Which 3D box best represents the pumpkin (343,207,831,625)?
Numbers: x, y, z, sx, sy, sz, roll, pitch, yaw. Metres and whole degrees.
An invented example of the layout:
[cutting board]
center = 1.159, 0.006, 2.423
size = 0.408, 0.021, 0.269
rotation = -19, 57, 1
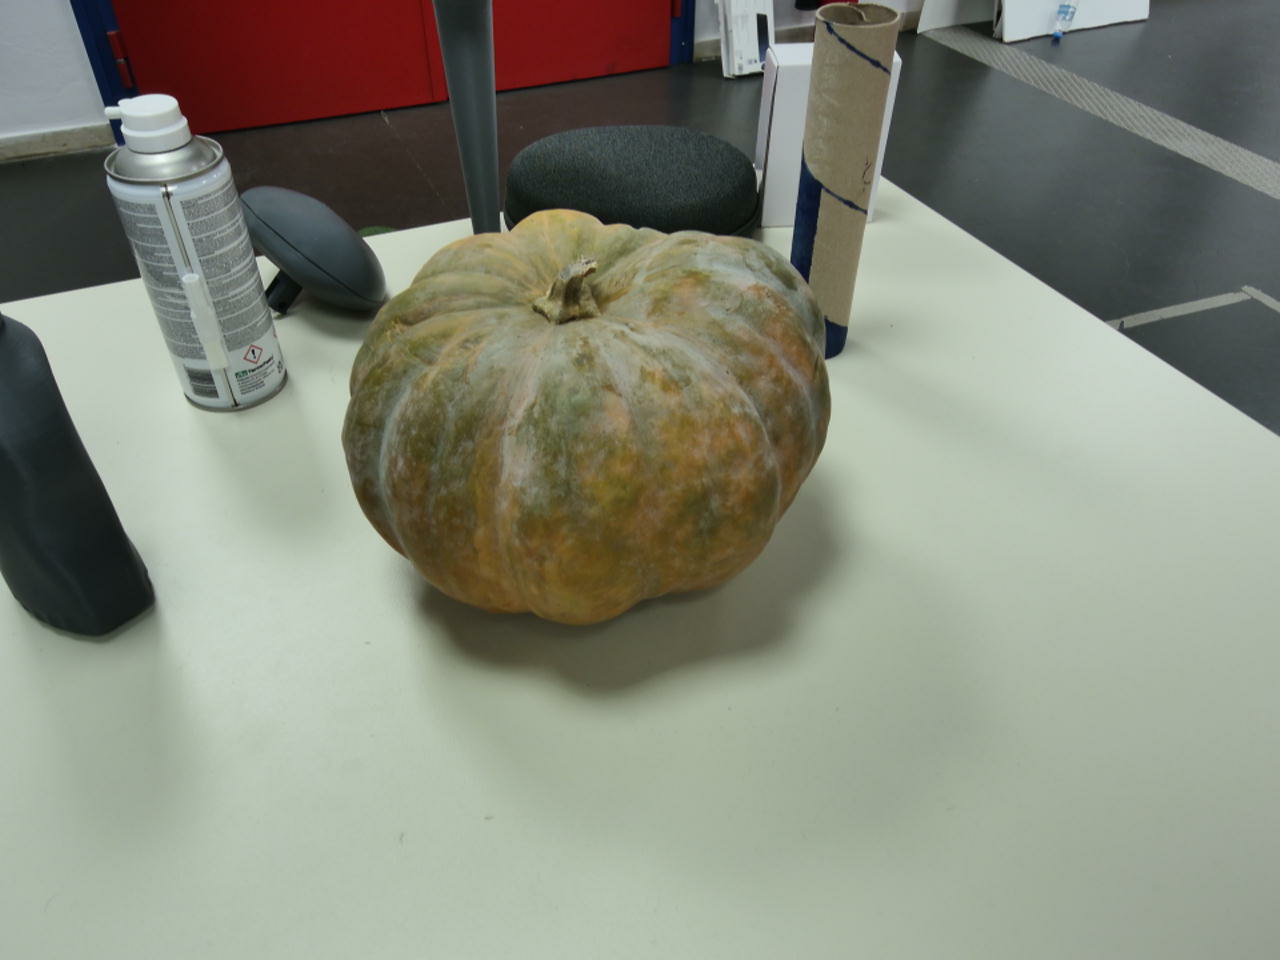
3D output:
[pumpkin]
center = -0.030, -0.038, 0.519
size = 0.252, 0.169, 0.251
rotation = 0, 39, 0
